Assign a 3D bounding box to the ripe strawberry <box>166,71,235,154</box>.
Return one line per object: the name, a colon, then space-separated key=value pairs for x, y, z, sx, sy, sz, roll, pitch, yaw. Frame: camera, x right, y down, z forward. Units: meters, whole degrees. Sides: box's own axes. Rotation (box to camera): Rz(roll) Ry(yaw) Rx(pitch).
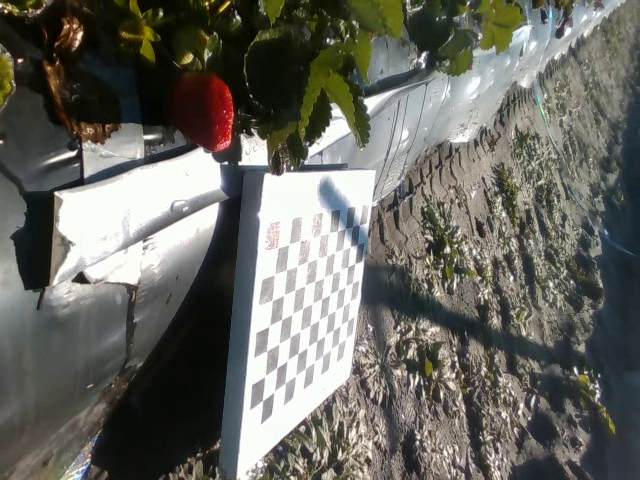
ripe strawberry: x=-0.079 y=-0.085 z=0.448 sx=0.057 sy=0.065 sz=0.062 roll=-29 pitch=-29 yaw=1
